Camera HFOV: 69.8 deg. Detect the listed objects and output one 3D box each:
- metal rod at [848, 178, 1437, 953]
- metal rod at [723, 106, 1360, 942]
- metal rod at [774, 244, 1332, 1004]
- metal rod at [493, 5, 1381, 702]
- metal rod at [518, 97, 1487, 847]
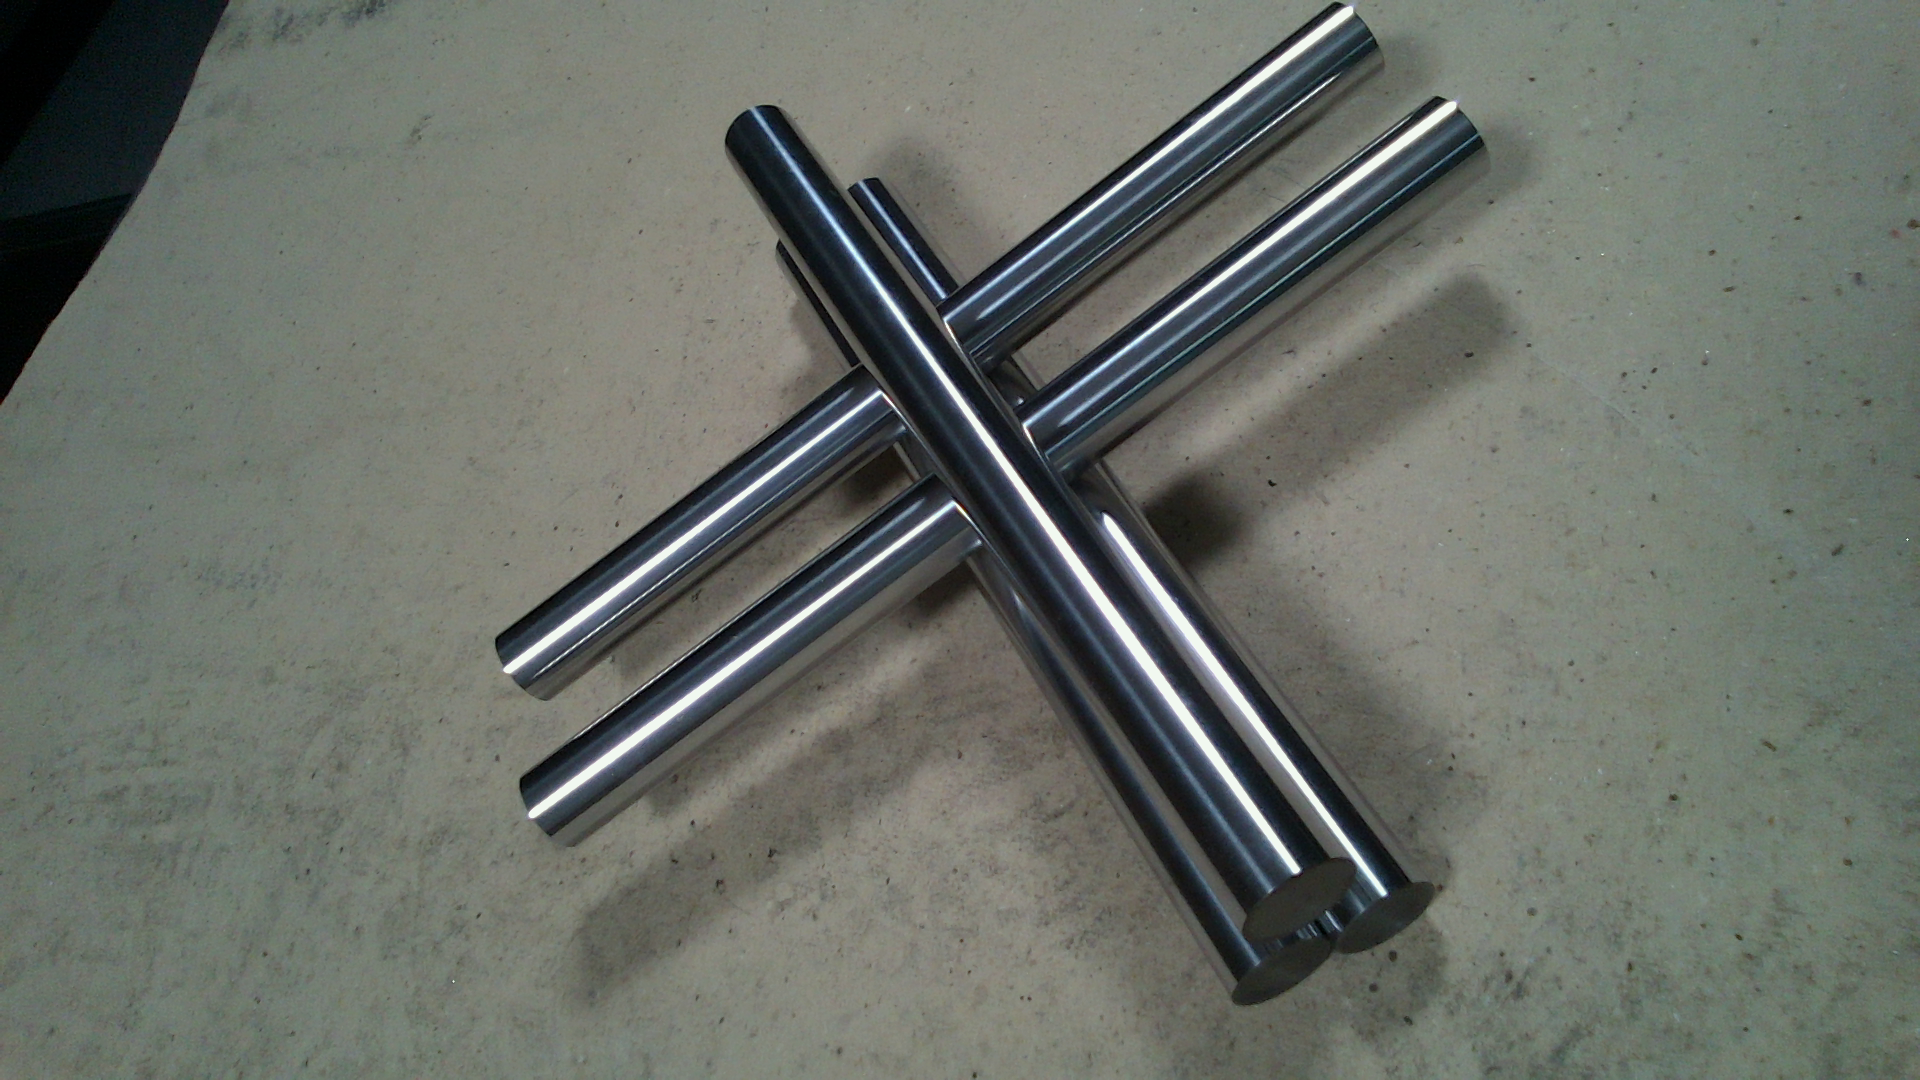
[{"bbox_3d":[0.030,-0.018,0.389,0.025,0.025,0.299,-36,51,5],"label":"metal rod"},{"bbox_3d":[-0.001,-0.031,0.348,0.025,0.025,0.299,-37,51,4],"label":"metal rod"},{"bbox_3d":[0.008,-0.005,0.393,0.025,0.025,0.299,-36,51,5],"label":"metal rod"},{"bbox_3d":[-0.010,-0.051,0.398,0.300,0.025,0.025,-36,51,4],"label":"metal rod"},{"bbox_3d":[0.008,-0.015,0.367,0.300,0.025,0.025,-36,51,4],"label":"metal rod"}]
